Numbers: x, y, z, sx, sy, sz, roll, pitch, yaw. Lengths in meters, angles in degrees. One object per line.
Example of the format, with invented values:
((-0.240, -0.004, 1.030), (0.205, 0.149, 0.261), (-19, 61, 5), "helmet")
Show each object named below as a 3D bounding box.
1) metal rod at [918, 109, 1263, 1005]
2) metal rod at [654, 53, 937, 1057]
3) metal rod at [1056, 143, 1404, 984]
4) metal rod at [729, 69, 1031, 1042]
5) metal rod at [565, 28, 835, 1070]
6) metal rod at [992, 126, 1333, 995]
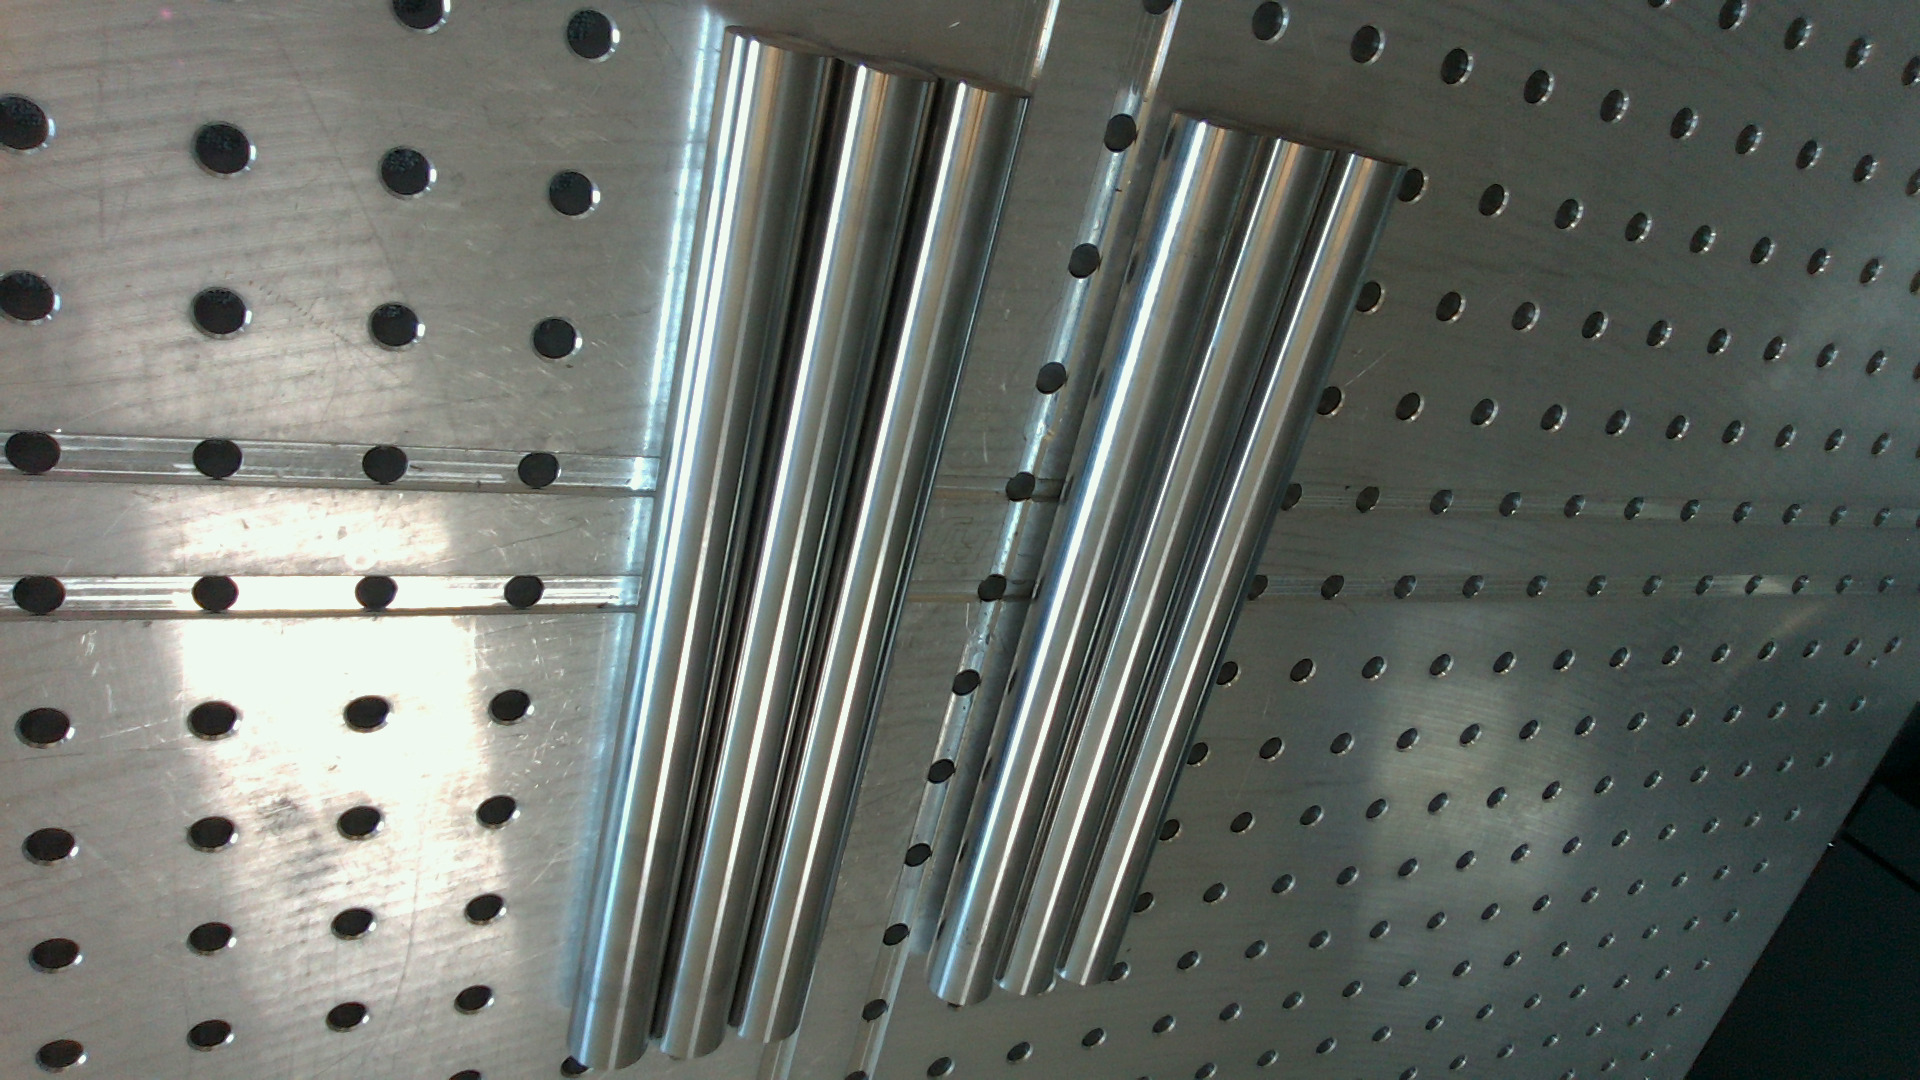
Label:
((0.032, 0.022, 0.423), (0.025, 0.025, 0.300), (1, 118, -29), "metal rod")
((-0.052, 0.023, 0.377), (0.025, 0.025, 0.300), (1, 118, -29), "metal rod")
((0.078, 0.024, 0.448), (0.025, 0.025, 0.300), (1, 118, -29), "metal rod")
((-0.030, 0.023, 0.389), (0.025, 0.025, 0.300), (1, 118, -29), "metal rod")
((-0.075, 0.022, 0.364), (0.025, 0.025, 0.300), (1, 118, -29), "metal rod")
((0.054, 0.023, 0.435), (0.025, 0.025, 0.300), (1, 118, -29), "metal rod")
